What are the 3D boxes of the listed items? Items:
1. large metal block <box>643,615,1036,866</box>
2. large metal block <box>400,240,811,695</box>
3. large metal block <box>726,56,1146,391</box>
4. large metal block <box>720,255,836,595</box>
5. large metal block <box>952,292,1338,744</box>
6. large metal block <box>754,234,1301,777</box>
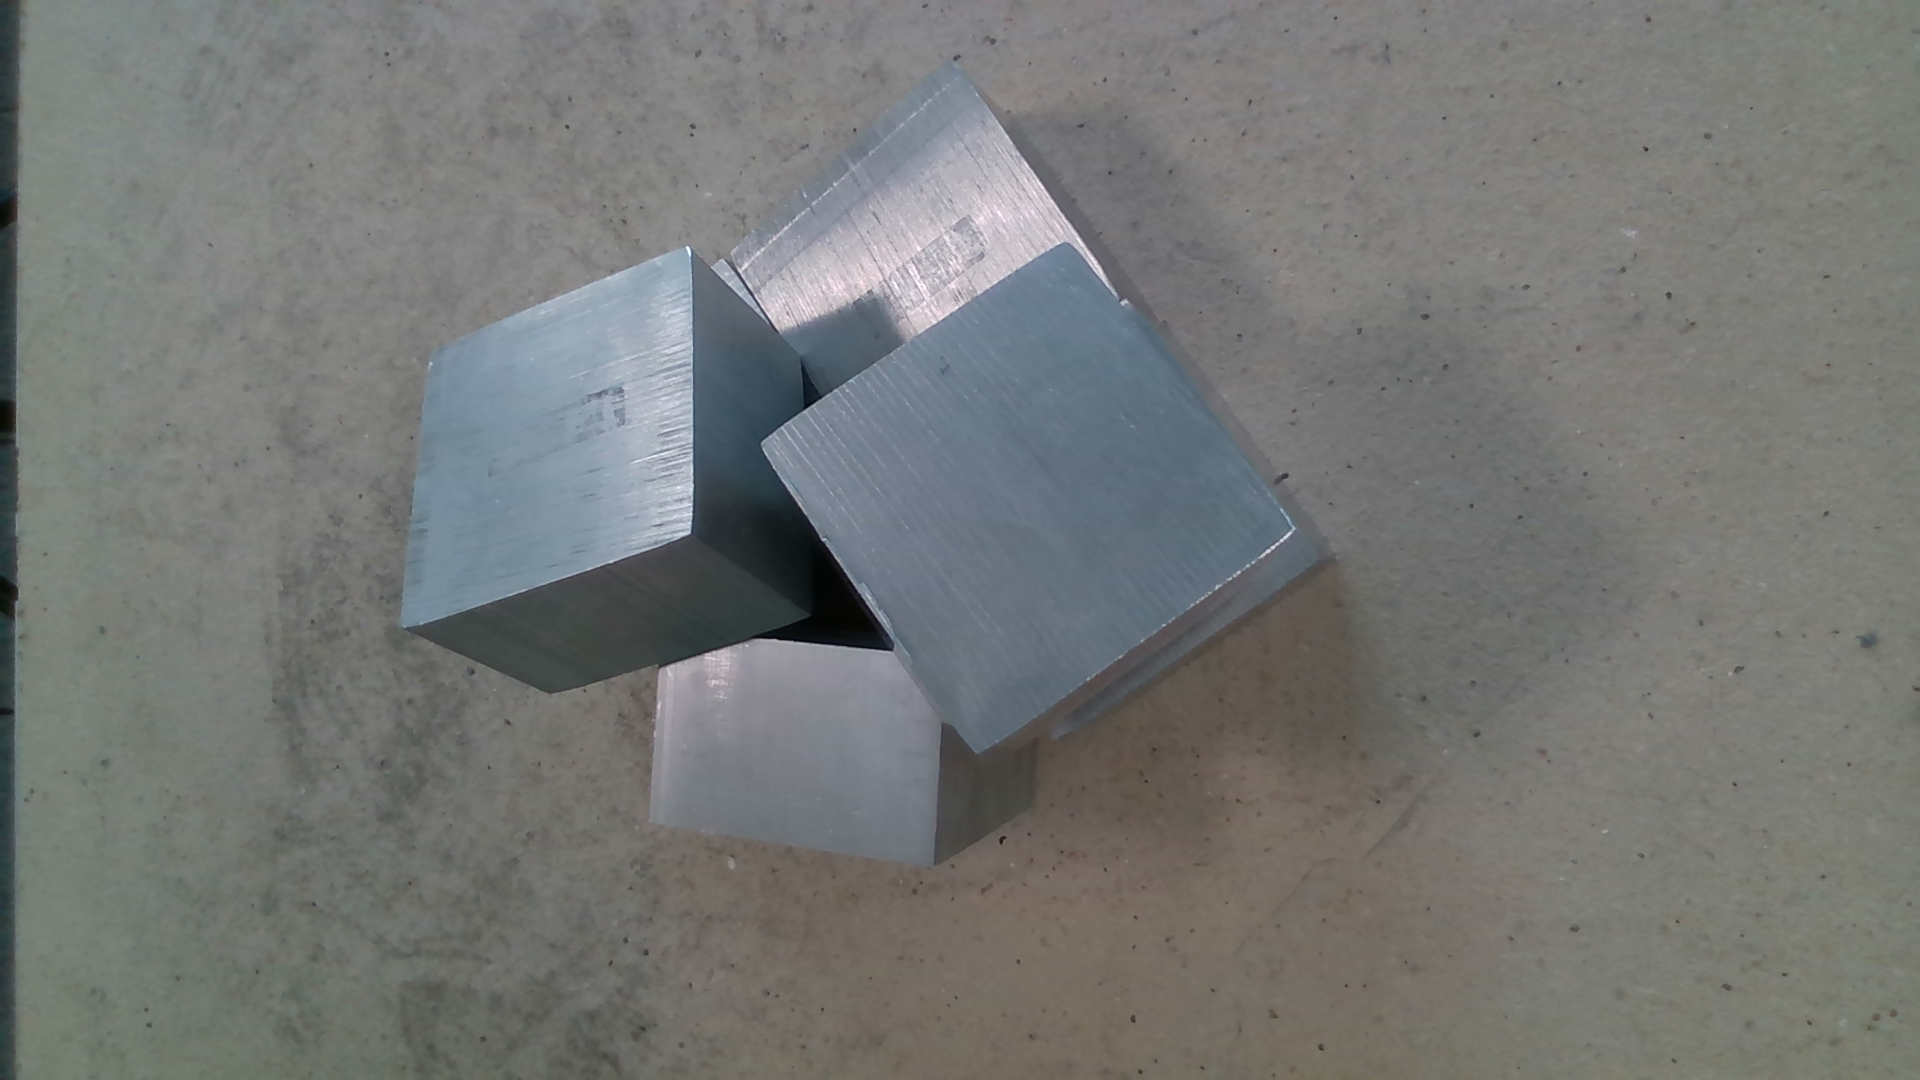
[{"bbox_3d":[-0.029,0.050,0.376,0.080,0.080,0.050,4,91,20],"label":"large metal block"},{"bbox_3d":[-0.086,-0.016,0.344,0.080,0.050,0.080,-17,60,20],"label":"large metal block"},{"bbox_3d":[-0.003,-0.069,0.382,0.080,0.050,0.080,-37,78,17],"label":"large metal block"},{"bbox_3d":[-0.064,-0.023,0.405,0.080,0.050,0.080,-37,78,16],"label":"large metal block"},{"bbox_3d":[0.041,-0.005,0.364,0.080,0.050,0.080,-37,79,16],"label":"large metal block"},{"bbox_3d":[0.014,-0.005,0.306,0.080,0.050,0.080,-35,78,-6],"label":"large metal block"}]
